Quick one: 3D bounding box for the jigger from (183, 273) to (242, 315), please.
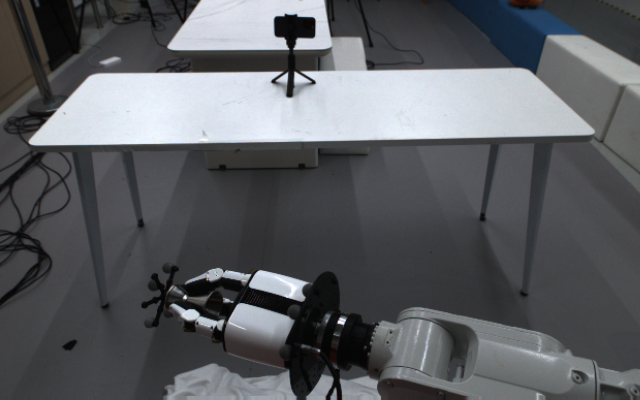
[{"bbox_3d":[-0.171,0.141,0.678,0.071,0.043,0.043,6,34,22],"label":"jigger"}]
